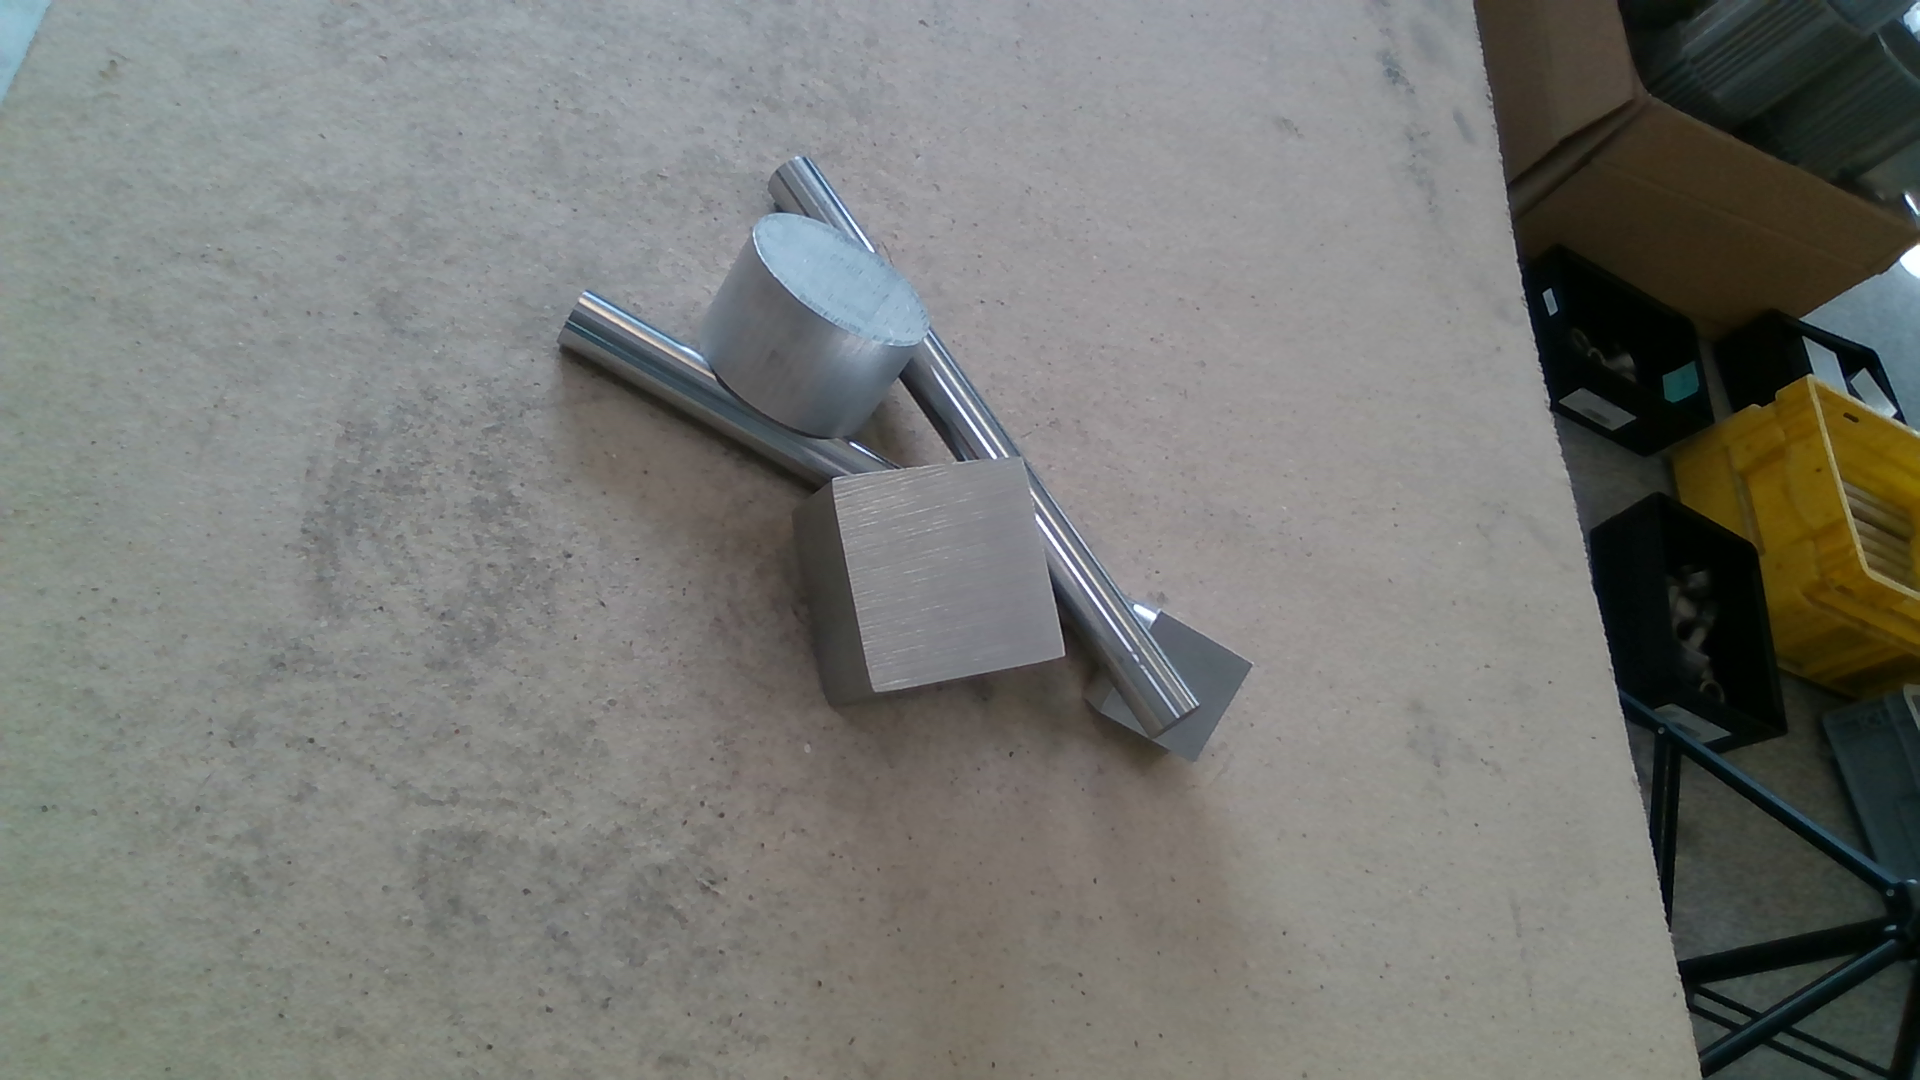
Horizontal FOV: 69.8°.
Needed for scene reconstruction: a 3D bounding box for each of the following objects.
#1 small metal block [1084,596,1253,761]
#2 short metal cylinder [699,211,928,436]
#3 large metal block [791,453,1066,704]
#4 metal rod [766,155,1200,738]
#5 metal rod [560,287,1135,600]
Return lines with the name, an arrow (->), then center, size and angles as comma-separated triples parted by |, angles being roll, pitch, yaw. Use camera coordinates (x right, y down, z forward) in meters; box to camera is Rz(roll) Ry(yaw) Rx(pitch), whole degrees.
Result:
small metal block -> 0.089, 0.059, 0.594 | 0.050, 0.025, 0.050 | 29, 93, -16
short metal cylinder -> -0.060, -0.089, 0.565 | 0.080, 0.050, 0.080 | 27, 33, -19
large metal block -> -0.013, 0.015, 0.535 | 0.080, 0.050, 0.080 | -8, 82, -25
metal rod -> 0.004, -0.047, 0.592 | 0.025, 0.025, 0.300 | -23, 72, -38
metal rod -> -0.025, -0.018, 0.580 | 0.300, 0.025, 0.025 | 29, 53, -15
